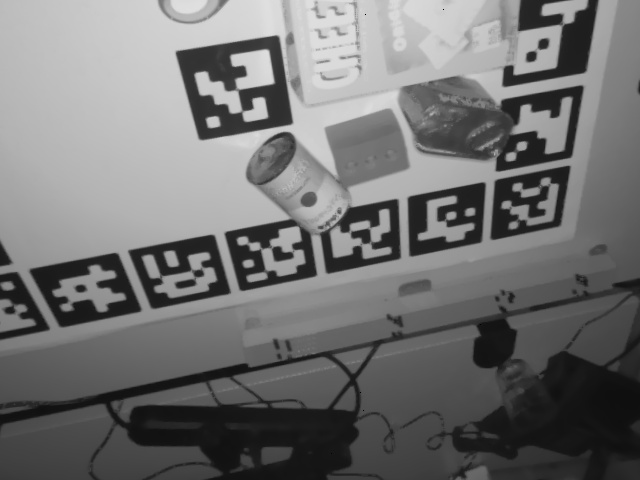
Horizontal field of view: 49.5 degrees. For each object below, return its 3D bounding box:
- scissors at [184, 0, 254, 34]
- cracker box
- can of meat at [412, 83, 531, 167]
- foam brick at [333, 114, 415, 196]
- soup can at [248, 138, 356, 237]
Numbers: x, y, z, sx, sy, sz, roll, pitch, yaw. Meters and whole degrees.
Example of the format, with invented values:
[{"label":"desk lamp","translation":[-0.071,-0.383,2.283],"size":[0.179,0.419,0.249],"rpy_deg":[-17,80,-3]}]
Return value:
[{"label":"scissors","translation":[-0.034,-0.243,0.615],"size":[0.203,0.016,0.087],"rpy_deg":[-14,128,-3]},{"label":"cracker box","translation":[0.088,-0.218,0.623],"size":[0.214,0.072,0.163],"rpy_deg":[-17,129,-5]},{"label":"can of meat","translation":[0.153,-0.122,0.719],"size":[0.103,0.084,0.057],"rpy_deg":[1,126,-13]},{"label":"foam brick","translation":[0.060,-0.091,0.745],"size":[0.078,0.051,0.052],"rpy_deg":[-19,128,2]},{"label":"soup can","translation":[-0.018,-0.055,0.753],"size":[0.067,0.068,0.103],"rpy_deg":[-41,130,18]}]
